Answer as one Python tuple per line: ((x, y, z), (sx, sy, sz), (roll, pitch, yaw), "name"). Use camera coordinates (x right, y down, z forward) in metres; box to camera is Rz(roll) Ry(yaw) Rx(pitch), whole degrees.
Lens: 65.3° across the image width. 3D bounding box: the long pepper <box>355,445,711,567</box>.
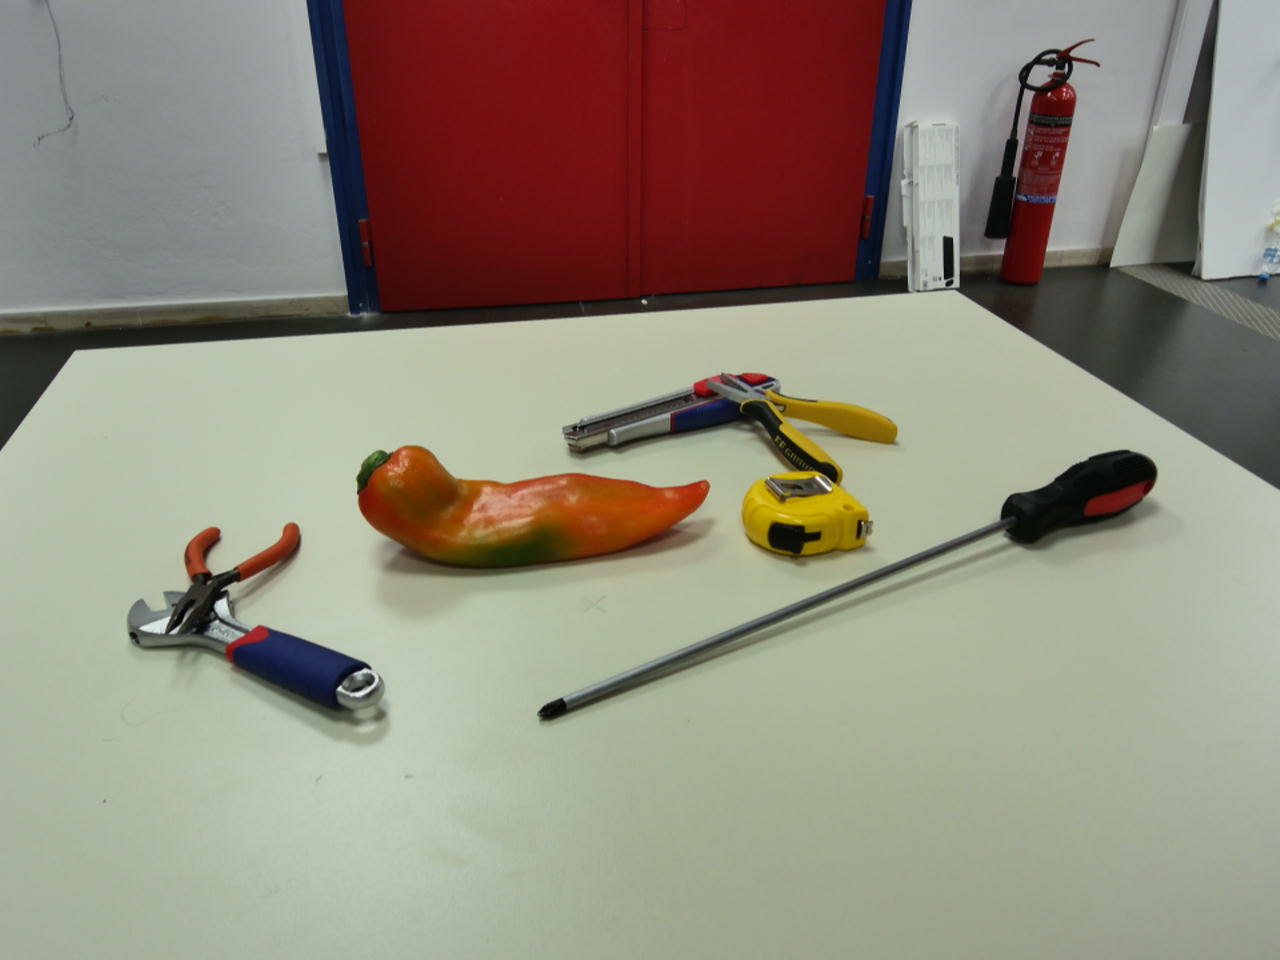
((-0.058, 0.008, 0.563), (0.199, 0.065, 0.066), (-3, 27, -7), "long pepper")
